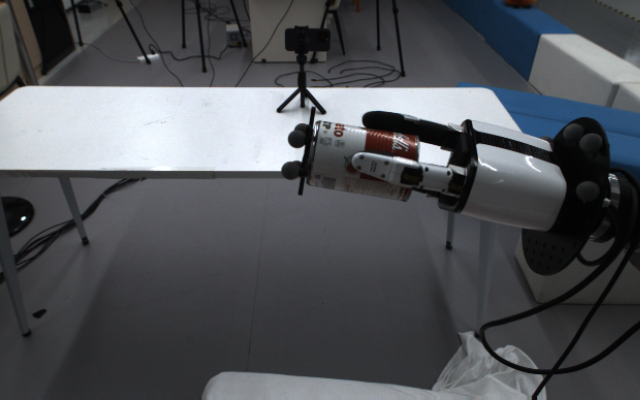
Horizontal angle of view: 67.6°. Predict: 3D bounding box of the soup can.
[{"bbox_3d":[0.044,-0.040,0.487,0.101,0.067,0.067,9,35,0],"label":"soup can"}]
